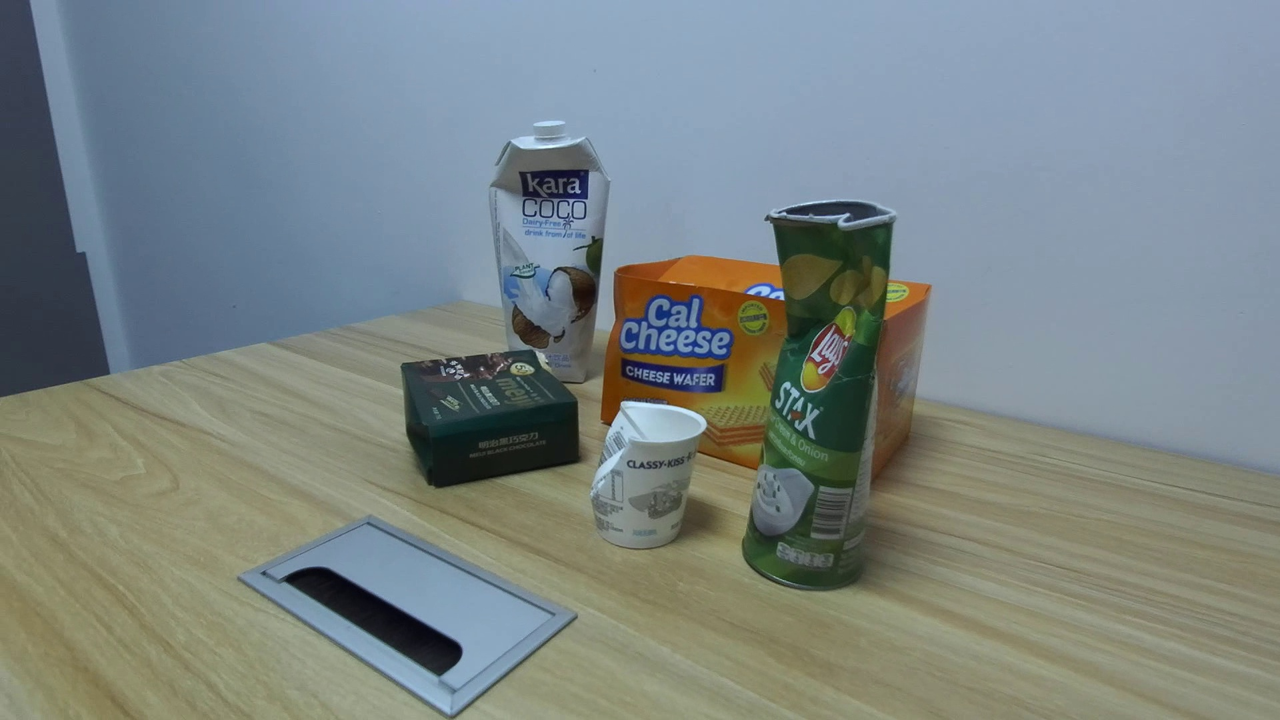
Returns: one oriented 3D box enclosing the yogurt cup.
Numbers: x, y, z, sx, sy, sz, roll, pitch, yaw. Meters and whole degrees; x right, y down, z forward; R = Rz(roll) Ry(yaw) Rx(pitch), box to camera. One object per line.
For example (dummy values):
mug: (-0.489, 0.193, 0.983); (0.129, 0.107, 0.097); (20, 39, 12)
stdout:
yogurt cup: (0.004, 0.068, 0.419); (0.067, 0.070, 0.067); (2, 17, 0)

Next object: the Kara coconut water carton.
Kara coconut water carton: (-0.085, -0.099, 0.665); (0.115, 0.238, 0.069); (2, 19, 1)

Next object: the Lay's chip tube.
Lay's chip tube: (0.096, 0.018, 0.374); (0.077, 0.201, 0.069); (13, 21, 35)

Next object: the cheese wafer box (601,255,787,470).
cheese wafer box: (0.093, -0.002, 0.564); (0.229, 0.132, 0.153); (14, 21, 32)

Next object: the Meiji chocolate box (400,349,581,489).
Meiji chocolate box: (-0.113, 0.042, 0.530); (0.123, 0.058, 0.115); (-8, 24, -24)
